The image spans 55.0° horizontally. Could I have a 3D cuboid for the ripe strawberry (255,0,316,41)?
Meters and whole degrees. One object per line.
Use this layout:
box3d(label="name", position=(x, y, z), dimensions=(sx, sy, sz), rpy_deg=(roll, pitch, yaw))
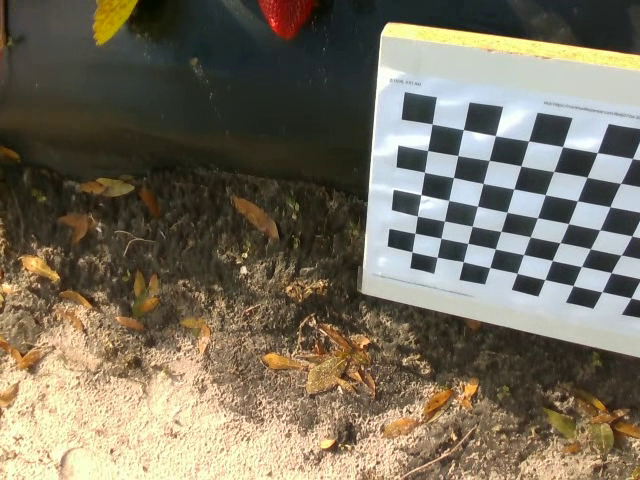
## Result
box3d(label="ripe strawberry", position=(-0.021, -0.137, 0.360), dimensions=(0.041, 0.047, 0.041), rpy_deg=(-3, -14, 40))
